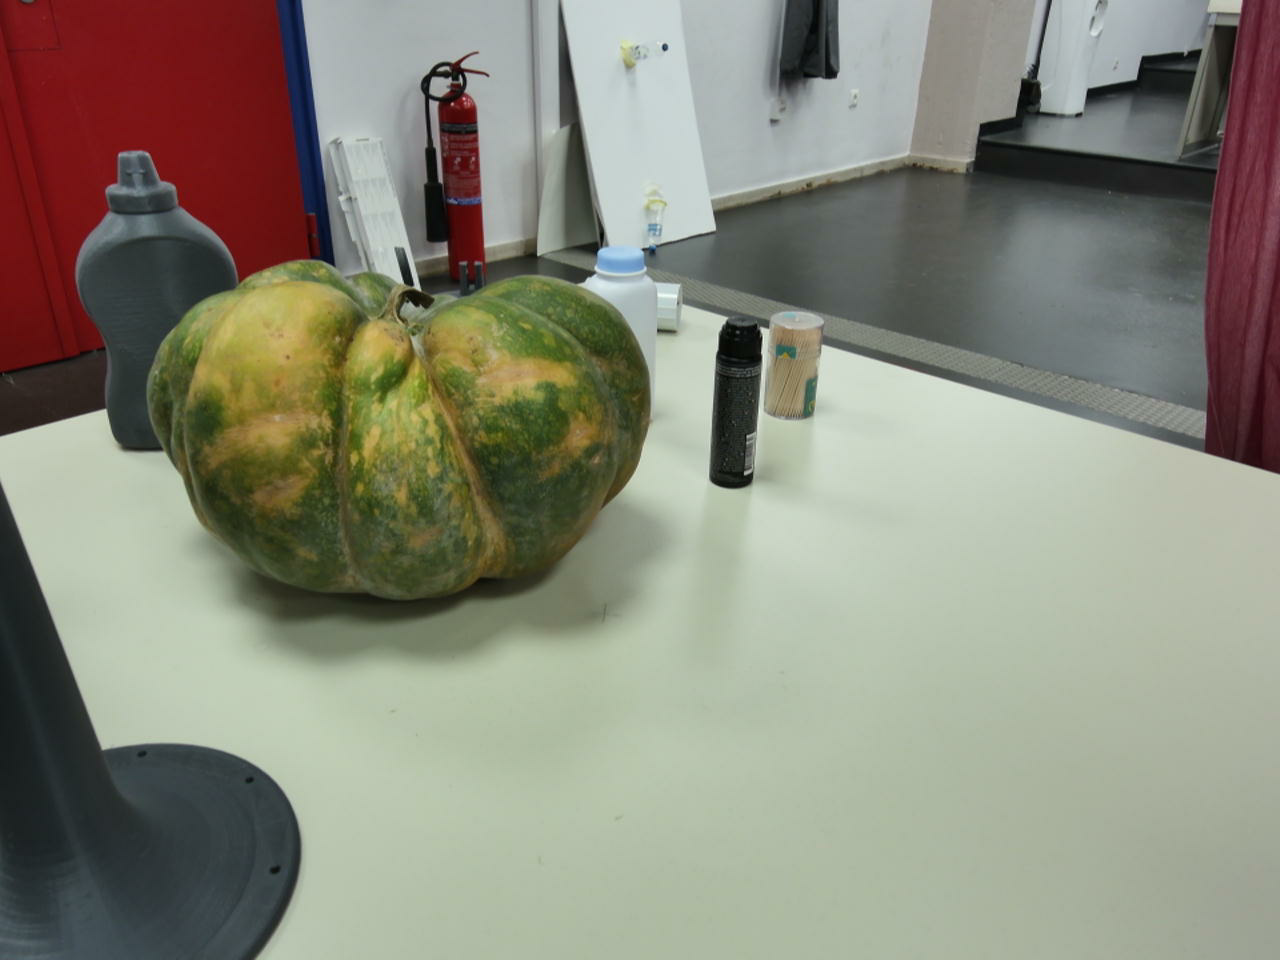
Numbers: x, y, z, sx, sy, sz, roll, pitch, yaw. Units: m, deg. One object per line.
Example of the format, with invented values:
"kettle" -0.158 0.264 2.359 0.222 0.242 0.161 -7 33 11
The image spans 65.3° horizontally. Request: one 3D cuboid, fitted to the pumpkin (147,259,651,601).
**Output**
"pumpkin" -0.131 -0.038 0.546 0.270 0.173 0.237 -4 26 -10
